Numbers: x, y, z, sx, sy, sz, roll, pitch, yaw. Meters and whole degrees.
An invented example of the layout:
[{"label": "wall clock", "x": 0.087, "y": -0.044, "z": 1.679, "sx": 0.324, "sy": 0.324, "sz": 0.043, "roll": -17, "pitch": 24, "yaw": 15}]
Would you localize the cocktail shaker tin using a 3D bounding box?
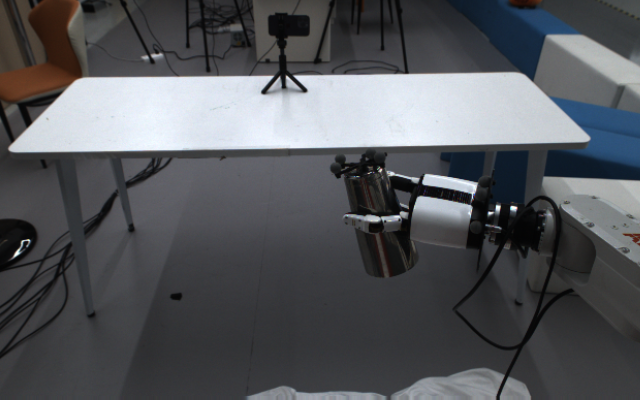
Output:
[{"label": "cocktail shaker tin", "x": 0.093, "y": 0.027, "z": 0.772, "sx": 0.093, "sy": 0.170, "sz": 0.093, "roll": -17, "pitch": 20, "yaw": 7}]
